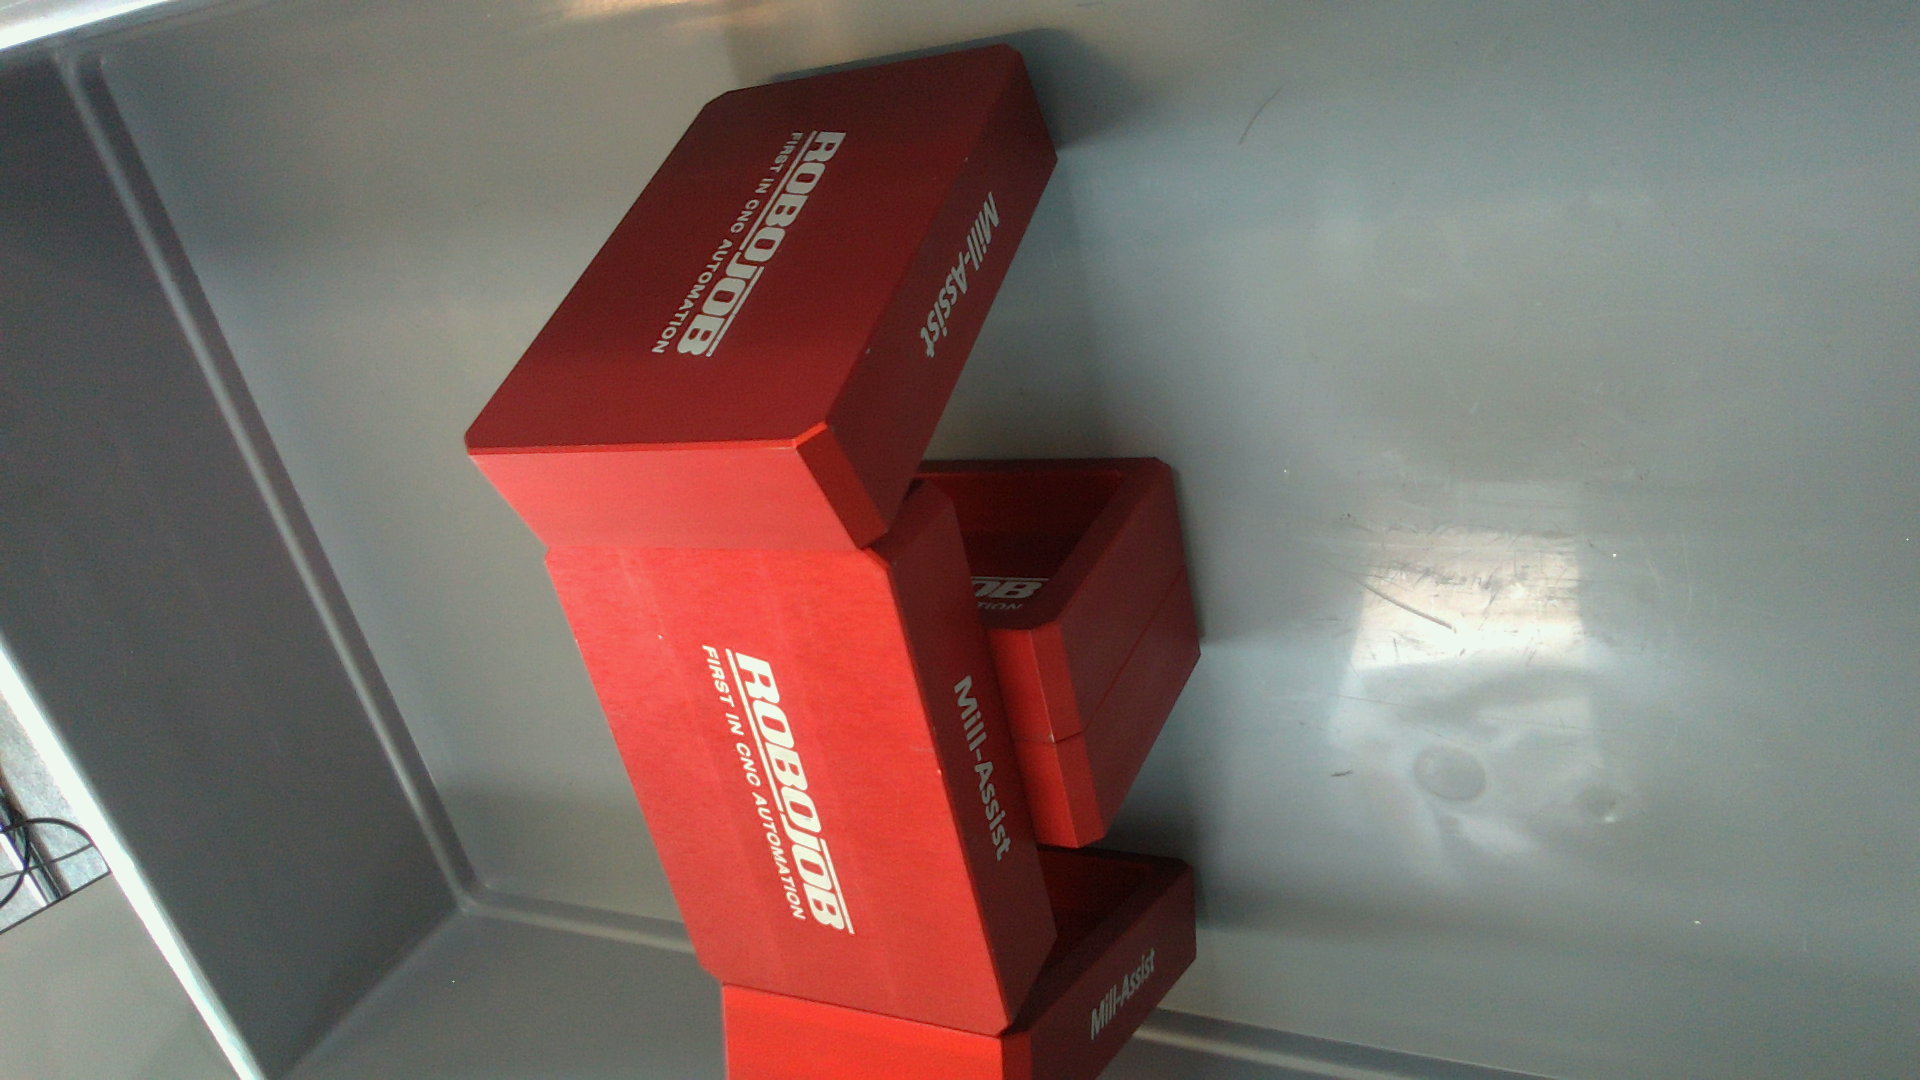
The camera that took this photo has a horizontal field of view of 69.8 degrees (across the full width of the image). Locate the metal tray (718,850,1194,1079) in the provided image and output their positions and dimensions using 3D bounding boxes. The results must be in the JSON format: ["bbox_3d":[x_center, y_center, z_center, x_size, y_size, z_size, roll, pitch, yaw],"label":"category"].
[{"bbox_3d":[0.005,0.123,0.395,0.090,0.130,0.030,0,97,28],"label":"metal tray"}]

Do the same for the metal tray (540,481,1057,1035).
[{"bbox_3d":[-0.035,0.051,0.321,0.090,0.030,0.130,0,119,27],"label":"metal tray"}]

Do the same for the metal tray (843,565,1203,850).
[{"bbox_3d":[-0.009,0.038,0.379,0.130,0.090,0.030,1,119,28],"label":"metal tray"}]

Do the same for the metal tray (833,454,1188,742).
[{"bbox_3d":[-0.016,0.011,0.365,0.130,0.090,0.030,1,119,28],"label":"metal tray"}]

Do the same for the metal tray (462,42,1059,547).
[{"bbox_3d":[-0.040,-0.057,0.309,0.090,0.130,0.030,1,139,28],"label":"metal tray"}]
